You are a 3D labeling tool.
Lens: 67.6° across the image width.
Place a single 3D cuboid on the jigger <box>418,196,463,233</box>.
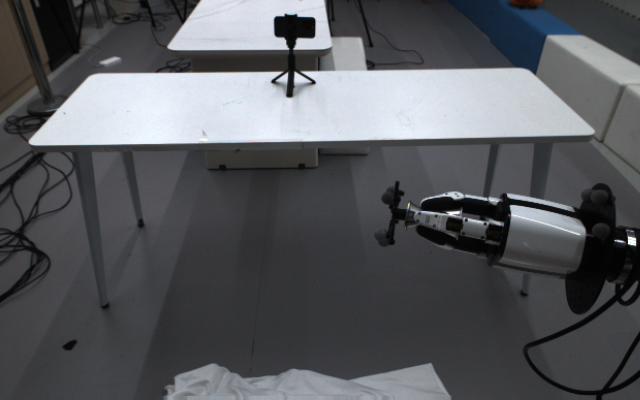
[{"bbox_3d":[0.153,0.021,0.627,0.071,0.043,0.043,8,35,16],"label":"jigger"}]
